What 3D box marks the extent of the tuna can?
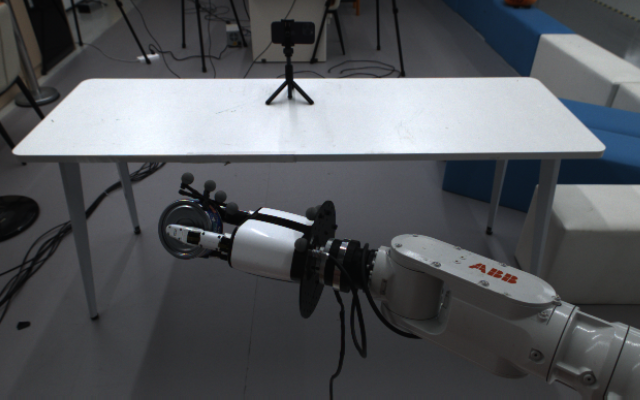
[{"bbox_3d":[-0.182,0.041,0.683,0.085,0.085,0.034,12,4,14],"label":"tuna can"}]
